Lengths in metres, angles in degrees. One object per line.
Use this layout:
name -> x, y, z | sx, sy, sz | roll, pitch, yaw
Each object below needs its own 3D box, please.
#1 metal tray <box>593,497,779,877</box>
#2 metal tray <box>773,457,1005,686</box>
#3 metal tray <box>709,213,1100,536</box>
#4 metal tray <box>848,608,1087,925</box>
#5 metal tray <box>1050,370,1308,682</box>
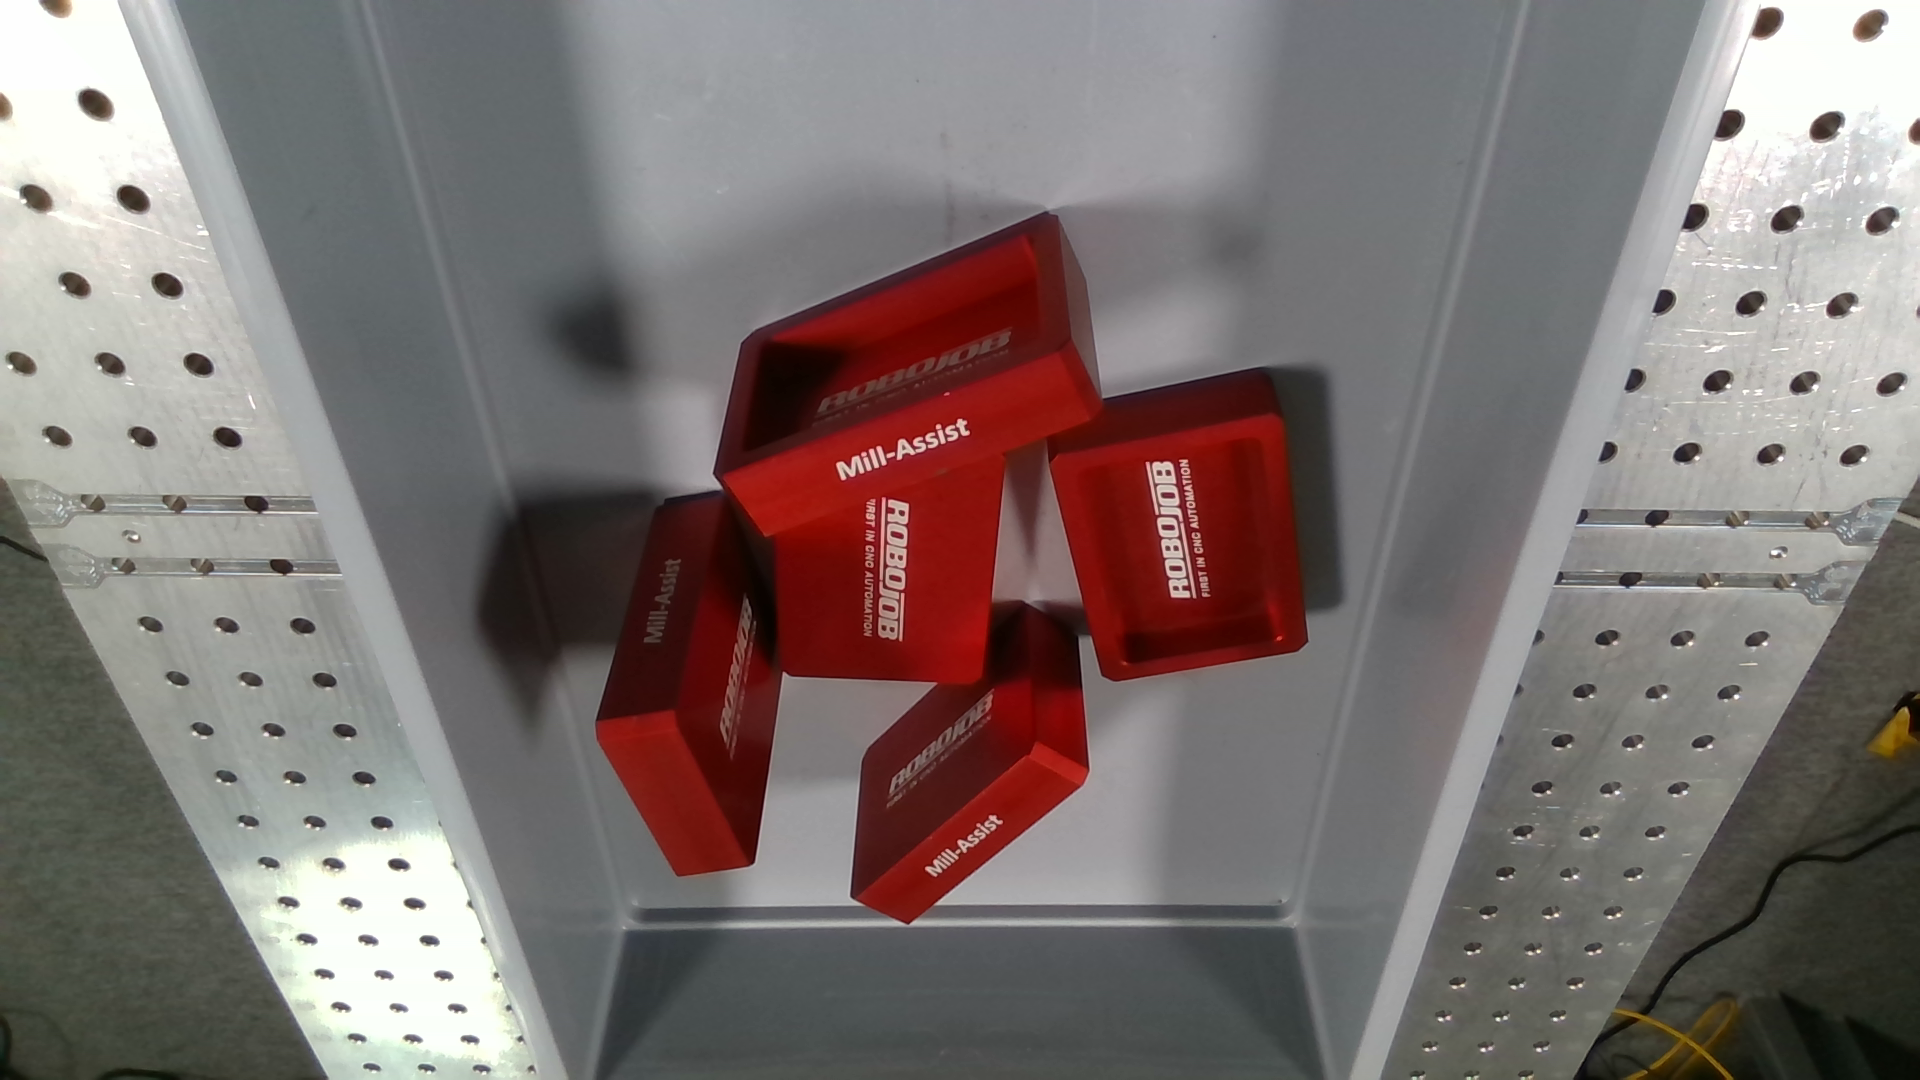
metal tray -> -0.105, 0.057, 0.555 | 0.030, 0.130, 0.090 | -10, 130, 8
metal tray -> -0.031, 0.004, 0.576 | 0.090, 0.030, 0.130 | 3, 130, -2
metal tray -> -0.020, -0.059, 0.485 | 0.130, 0.090, 0.030 | -19, 128, 16
metal tray -> 0.001, 0.102, 0.620 | 0.030, 0.090, 0.130 | 31, 123, -23
metal tray -> 0.092, -0.002, 0.573 | 0.090, 0.030, 0.130 | -10, 129, 9
